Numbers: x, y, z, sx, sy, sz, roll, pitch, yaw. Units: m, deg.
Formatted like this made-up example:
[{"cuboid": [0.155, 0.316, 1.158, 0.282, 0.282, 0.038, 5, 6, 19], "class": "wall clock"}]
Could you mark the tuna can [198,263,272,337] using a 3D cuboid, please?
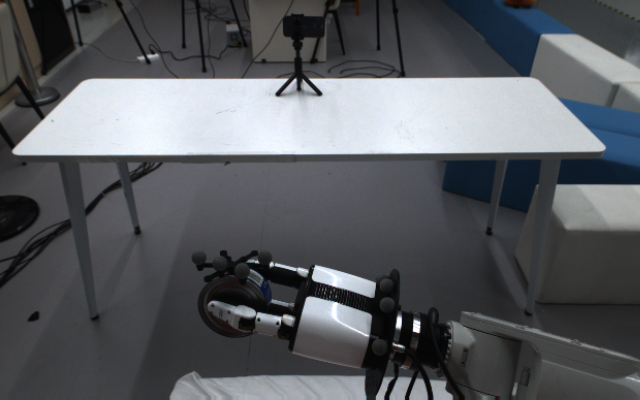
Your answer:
[{"cuboid": [-0.101, 0.129, 0.590, 0.085, 0.085, 0.034, 4, 17, 3], "class": "tuna can"}]
